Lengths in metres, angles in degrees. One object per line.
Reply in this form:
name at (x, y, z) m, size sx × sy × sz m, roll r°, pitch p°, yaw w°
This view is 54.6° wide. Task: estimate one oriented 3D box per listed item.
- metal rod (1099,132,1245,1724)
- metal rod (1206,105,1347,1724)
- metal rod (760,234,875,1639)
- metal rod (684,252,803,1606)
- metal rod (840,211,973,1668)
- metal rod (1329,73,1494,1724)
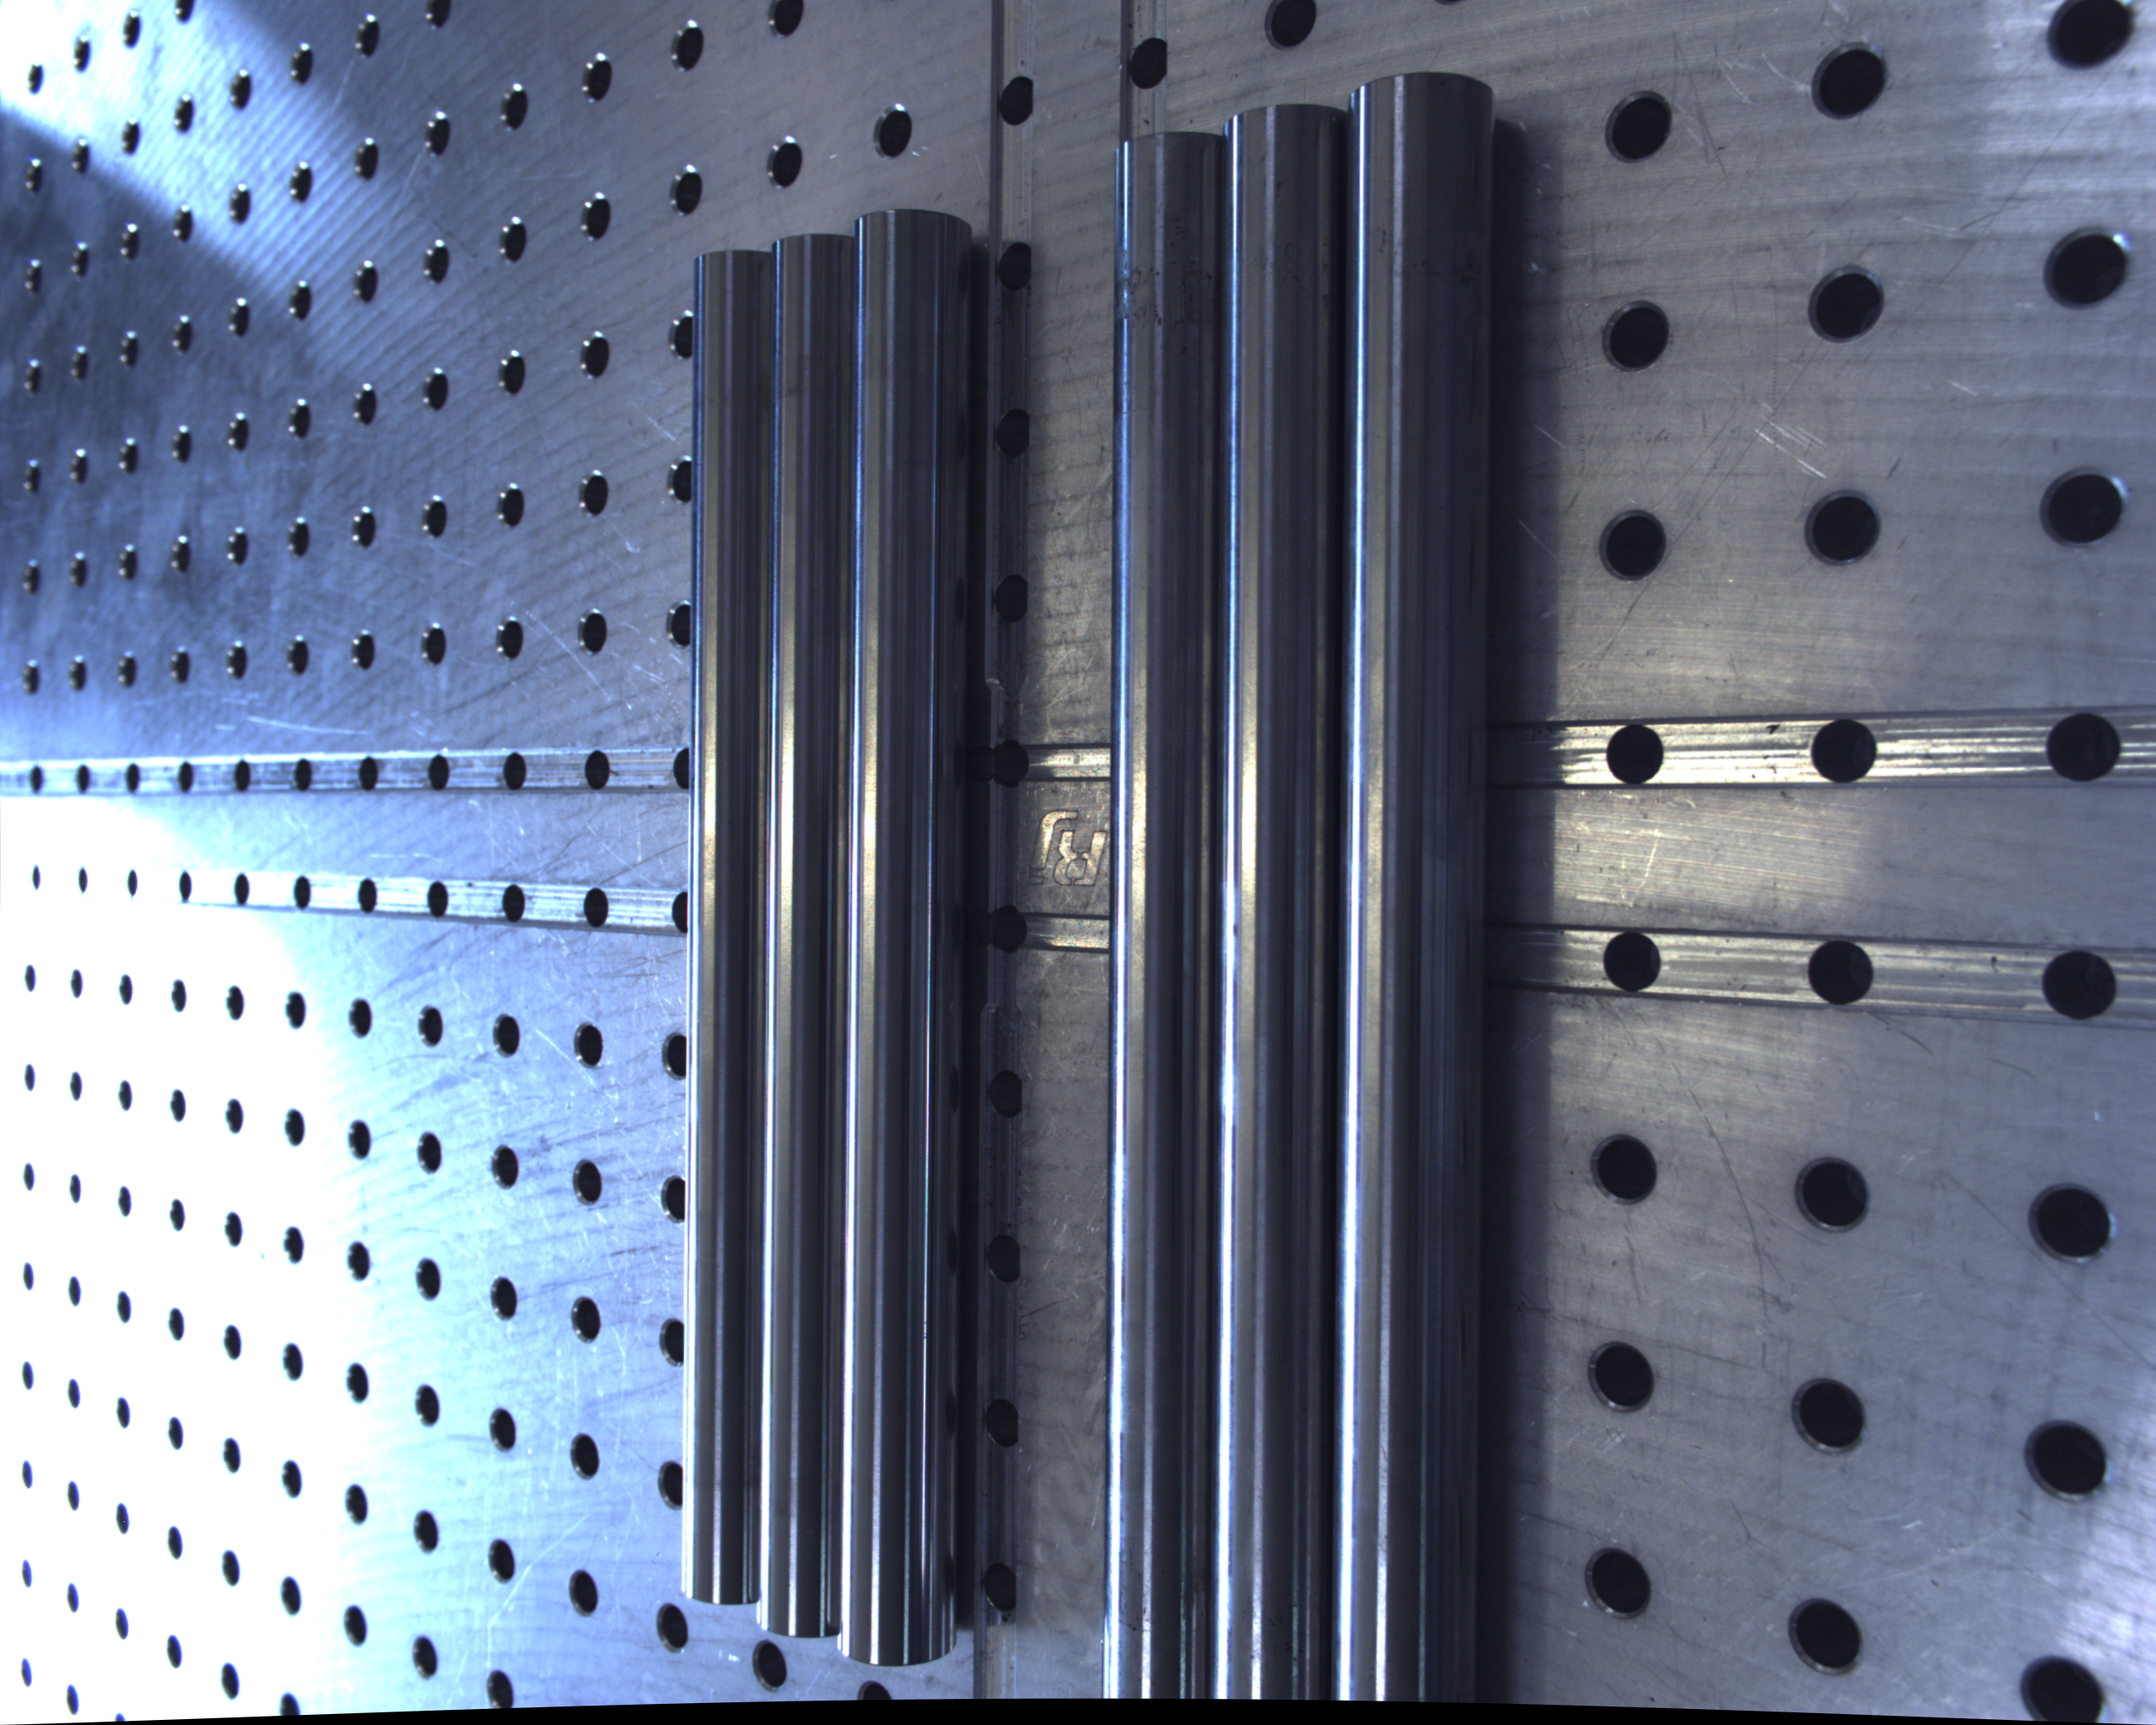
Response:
metal rod at (0.018, 0.016, 0.395) m, size 0.025 × 0.025 × 0.298 m, roll 1°, pitch 91°, yaw 40°
metal rod at (0.037, 0.017, 0.379) m, size 0.025 × 0.025 × 0.298 m, roll 1°, pitch 91°, yaw 40°
metal rod at (-0.055, 0.016, 0.456) m, size 0.025 × 0.025 × 0.298 m, roll 1°, pitch 91°, yaw 40°
metal rod at (-0.075, 0.015, 0.472) m, size 0.025 × 0.025 × 0.298 m, roll 1°, pitch 91°, yaw 40°
metal rod at (-0.036, 0.016, 0.440) m, size 0.025 × 0.025 × 0.298 m, roll 1°, pitch 91°, yaw 40°
metal rod at (0.058, 0.017, 0.362) m, size 0.025 × 0.025 × 0.298 m, roll 1°, pitch 91°, yaw 40°
